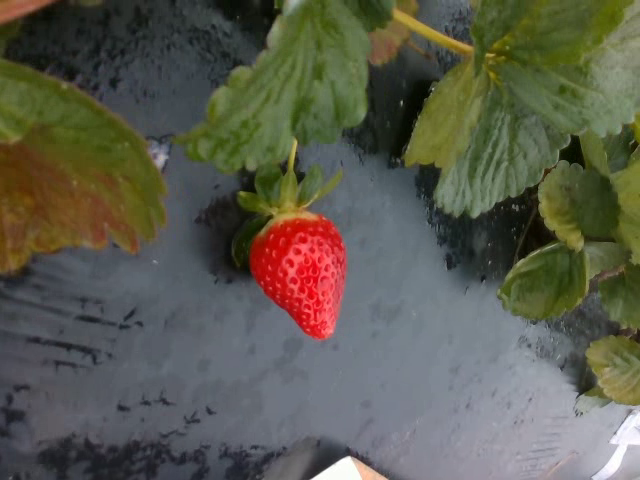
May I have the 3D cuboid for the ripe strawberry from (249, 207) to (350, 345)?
[{"bbox_3d":[-0.005,0.014,0.237,0.045,0.054,0.048,-6,-3,-24],"label":"ripe strawberry"}]
